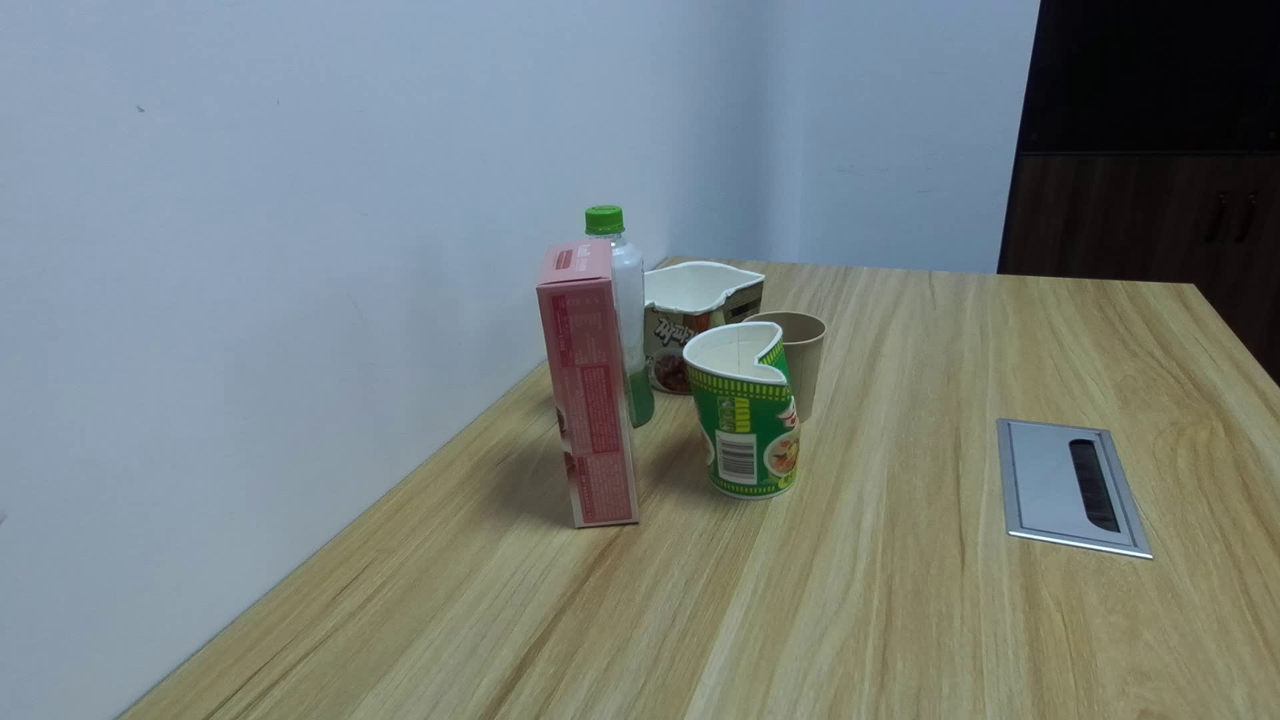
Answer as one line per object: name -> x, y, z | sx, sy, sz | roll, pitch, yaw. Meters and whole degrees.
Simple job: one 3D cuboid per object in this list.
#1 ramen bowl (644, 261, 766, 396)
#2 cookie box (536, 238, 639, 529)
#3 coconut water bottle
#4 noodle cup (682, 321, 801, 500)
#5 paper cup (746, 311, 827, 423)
ramen bowl -> 0.043, -0.035, 0.704 | 0.133, 0.097, 0.114 | 13, 32, 29
cookie box -> -0.032, 0.017, 0.503 | 0.048, 0.185, 0.096 | -5, 25, 0
coconut water bottle -> -0.023, -0.035, 0.607 | 0.063, 0.189, 0.063 | -3, 25, 2
noodle cup -> 0.079, 0.038, 0.521 | 0.086, 0.109, 0.094 | 10, 30, 28
paper cup -> 0.123, 0.009, 0.615 | 0.075, 0.082, 0.075 | -3, 24, 2
